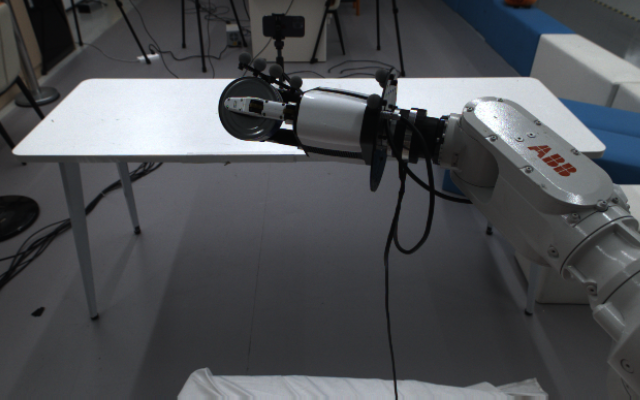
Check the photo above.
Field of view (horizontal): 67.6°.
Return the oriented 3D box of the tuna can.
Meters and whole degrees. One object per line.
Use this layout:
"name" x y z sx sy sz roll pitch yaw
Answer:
"tuna can" -0.092 -0.123 0.663 0.085 0.085 0.034 10 4 11
